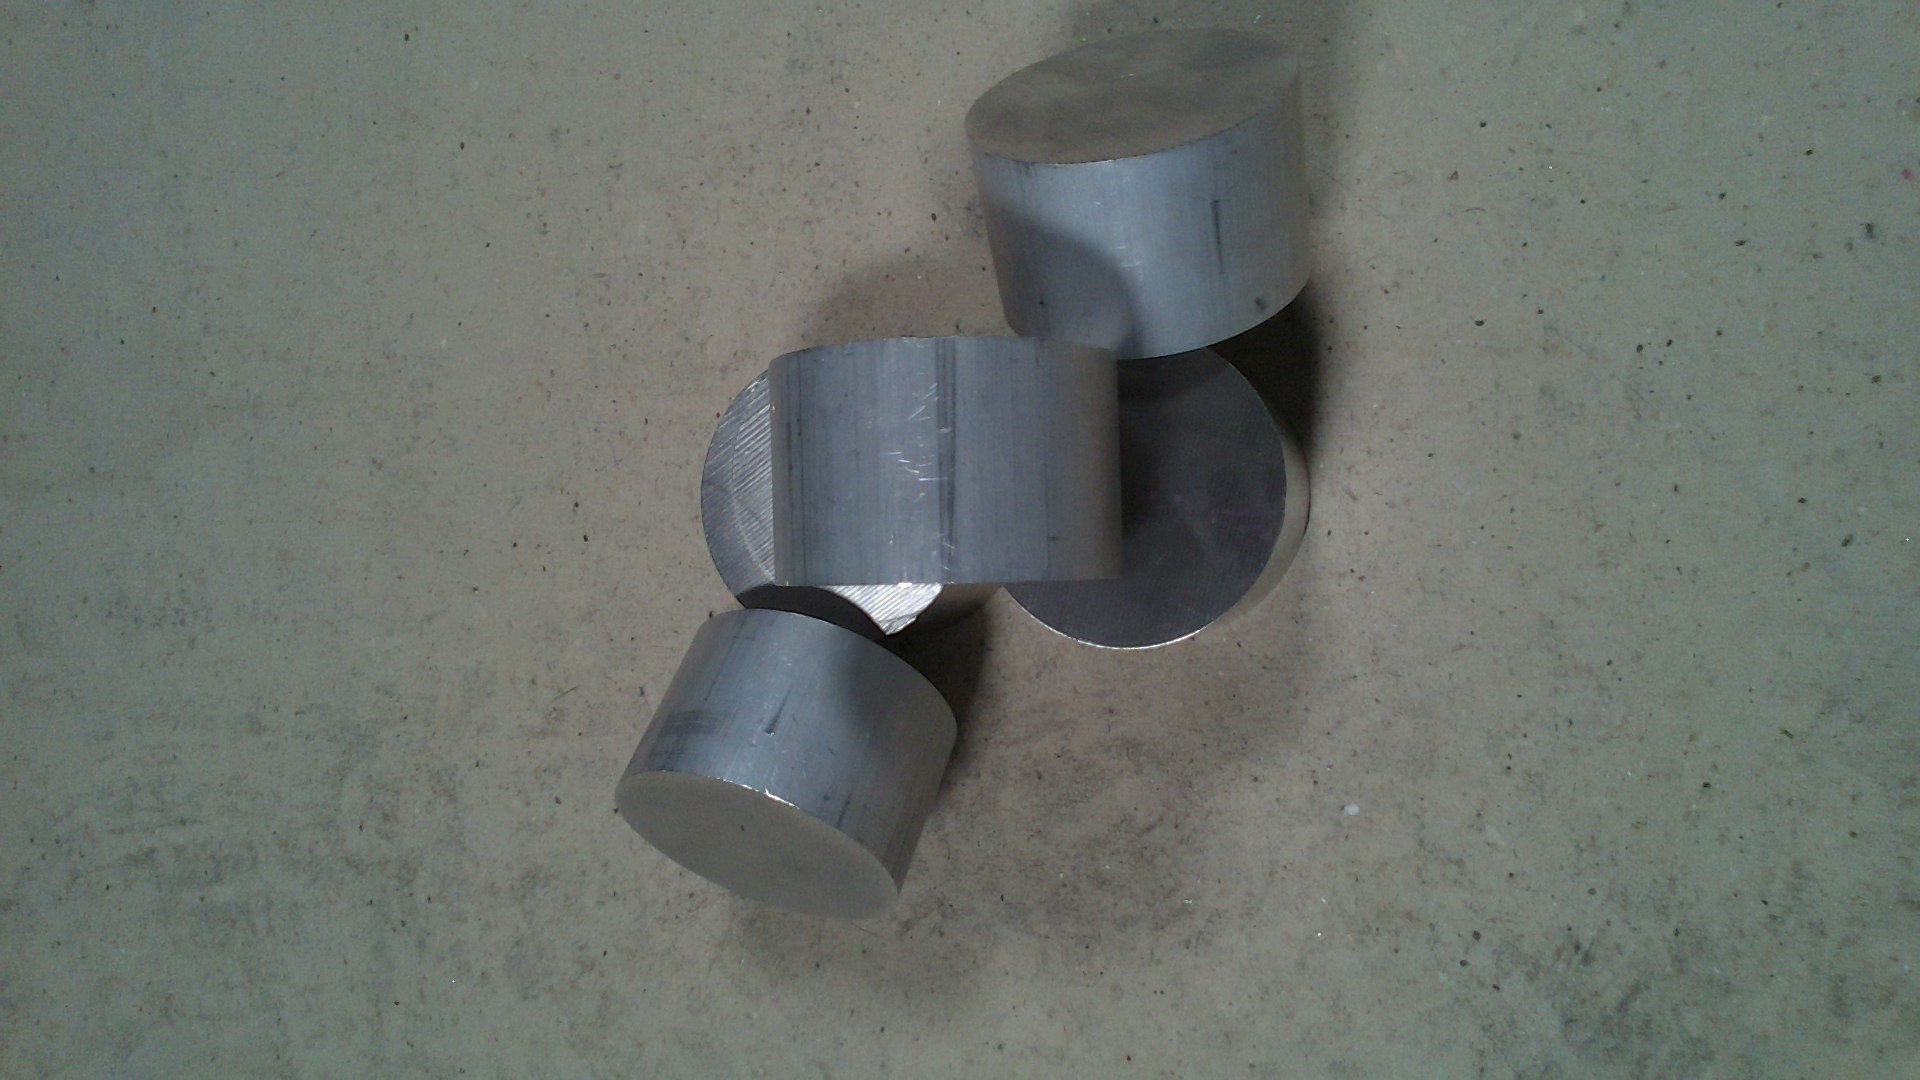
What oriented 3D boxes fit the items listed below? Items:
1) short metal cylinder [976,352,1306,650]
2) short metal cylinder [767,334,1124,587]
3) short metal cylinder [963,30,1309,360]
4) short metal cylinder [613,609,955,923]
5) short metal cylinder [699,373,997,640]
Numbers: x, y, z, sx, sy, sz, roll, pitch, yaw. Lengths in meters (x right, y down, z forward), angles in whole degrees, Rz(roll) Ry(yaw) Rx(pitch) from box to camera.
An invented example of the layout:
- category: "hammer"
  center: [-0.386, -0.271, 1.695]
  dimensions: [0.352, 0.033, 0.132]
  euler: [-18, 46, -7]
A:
- category: "short metal cylinder"
  center: [0.049, -0.013, 0.364]
  dimensions: [0.080, 0.050, 0.080]
  euler: [0, 90, 20]
- category: "short metal cylinder"
  center: [-0.003, -0.016, 0.314]
  dimensions: [0.080, 0.080, 0.050]
  euler: [-2, 90, 20]
- category: "short metal cylinder"
  center: [0.045, -0.087, 0.343]
  dimensions: [0.080, 0.080, 0.050]
  euler: [1, 128, 20]
- category: "short metal cylinder"
  center: [-0.047, 0.063, 0.377]
  dimensions: [0.080, 0.080, 0.050]
  euler: [8, 54, 20]
- category: "short metal cylinder"
  center: [-0.026, -0.012, 0.392]
  dimensions: [0.080, 0.050, 0.080]
  euler: [0, 90, 20]
